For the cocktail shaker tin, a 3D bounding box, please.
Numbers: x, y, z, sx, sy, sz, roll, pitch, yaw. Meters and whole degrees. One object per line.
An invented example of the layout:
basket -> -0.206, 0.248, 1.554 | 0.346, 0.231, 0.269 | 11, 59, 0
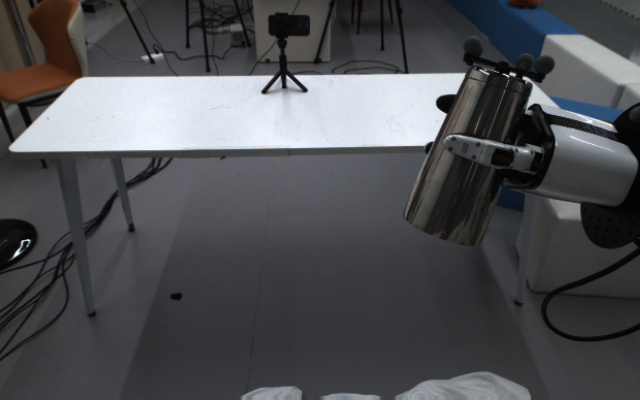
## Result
cocktail shaker tin -> 0.160, -0.049, 0.514 | 0.093, 0.170, 0.093 | 15, 17, -5
